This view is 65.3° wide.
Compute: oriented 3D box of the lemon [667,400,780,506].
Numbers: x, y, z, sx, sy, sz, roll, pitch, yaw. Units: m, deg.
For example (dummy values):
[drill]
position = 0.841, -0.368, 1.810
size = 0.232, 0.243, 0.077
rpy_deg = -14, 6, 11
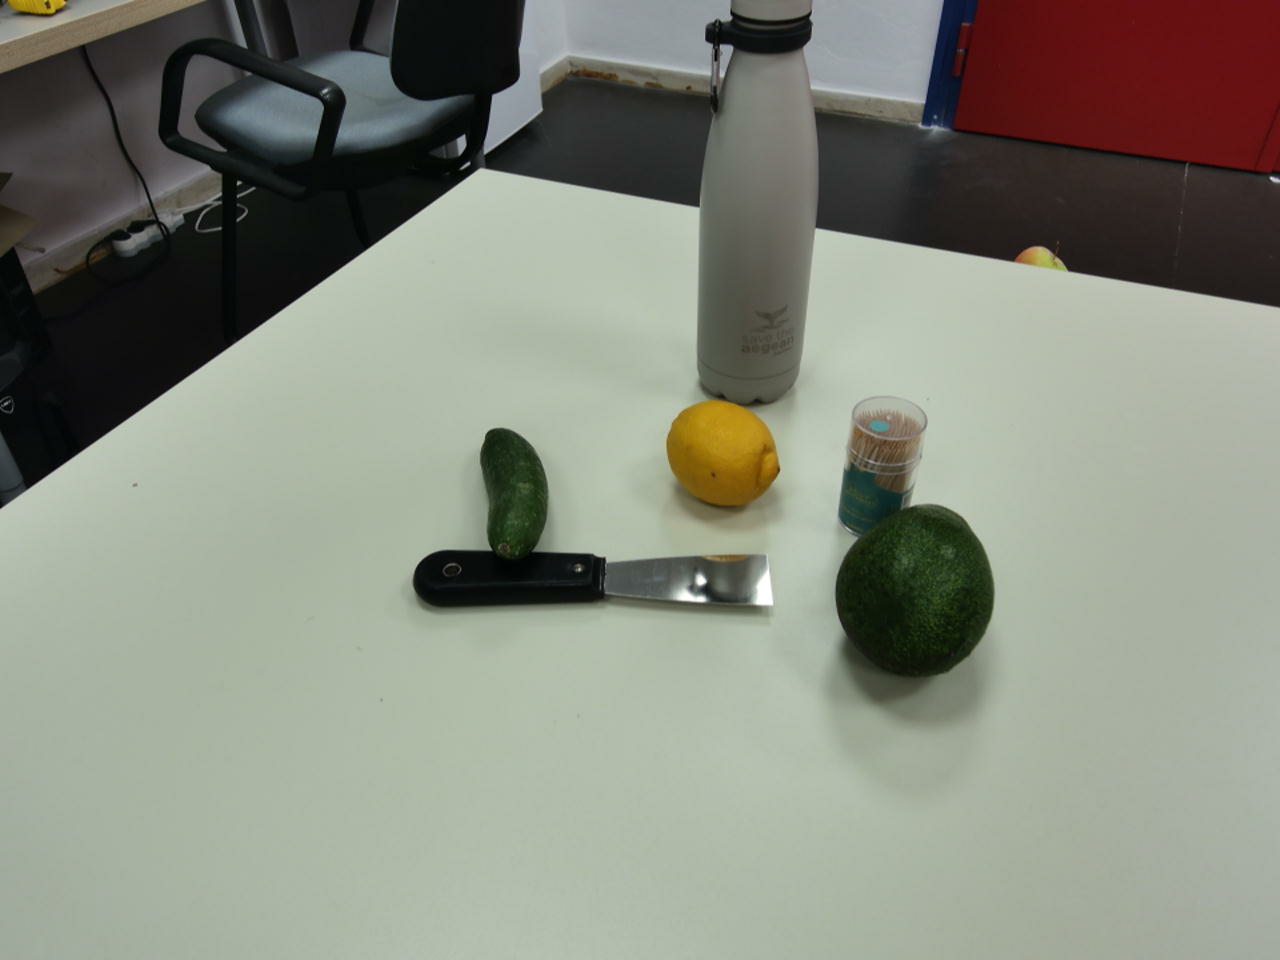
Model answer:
[lemon]
position = 0.048, -0.015, 0.587
size = 0.061, 0.059, 0.067
rpy_deg = -15, 41, -18
